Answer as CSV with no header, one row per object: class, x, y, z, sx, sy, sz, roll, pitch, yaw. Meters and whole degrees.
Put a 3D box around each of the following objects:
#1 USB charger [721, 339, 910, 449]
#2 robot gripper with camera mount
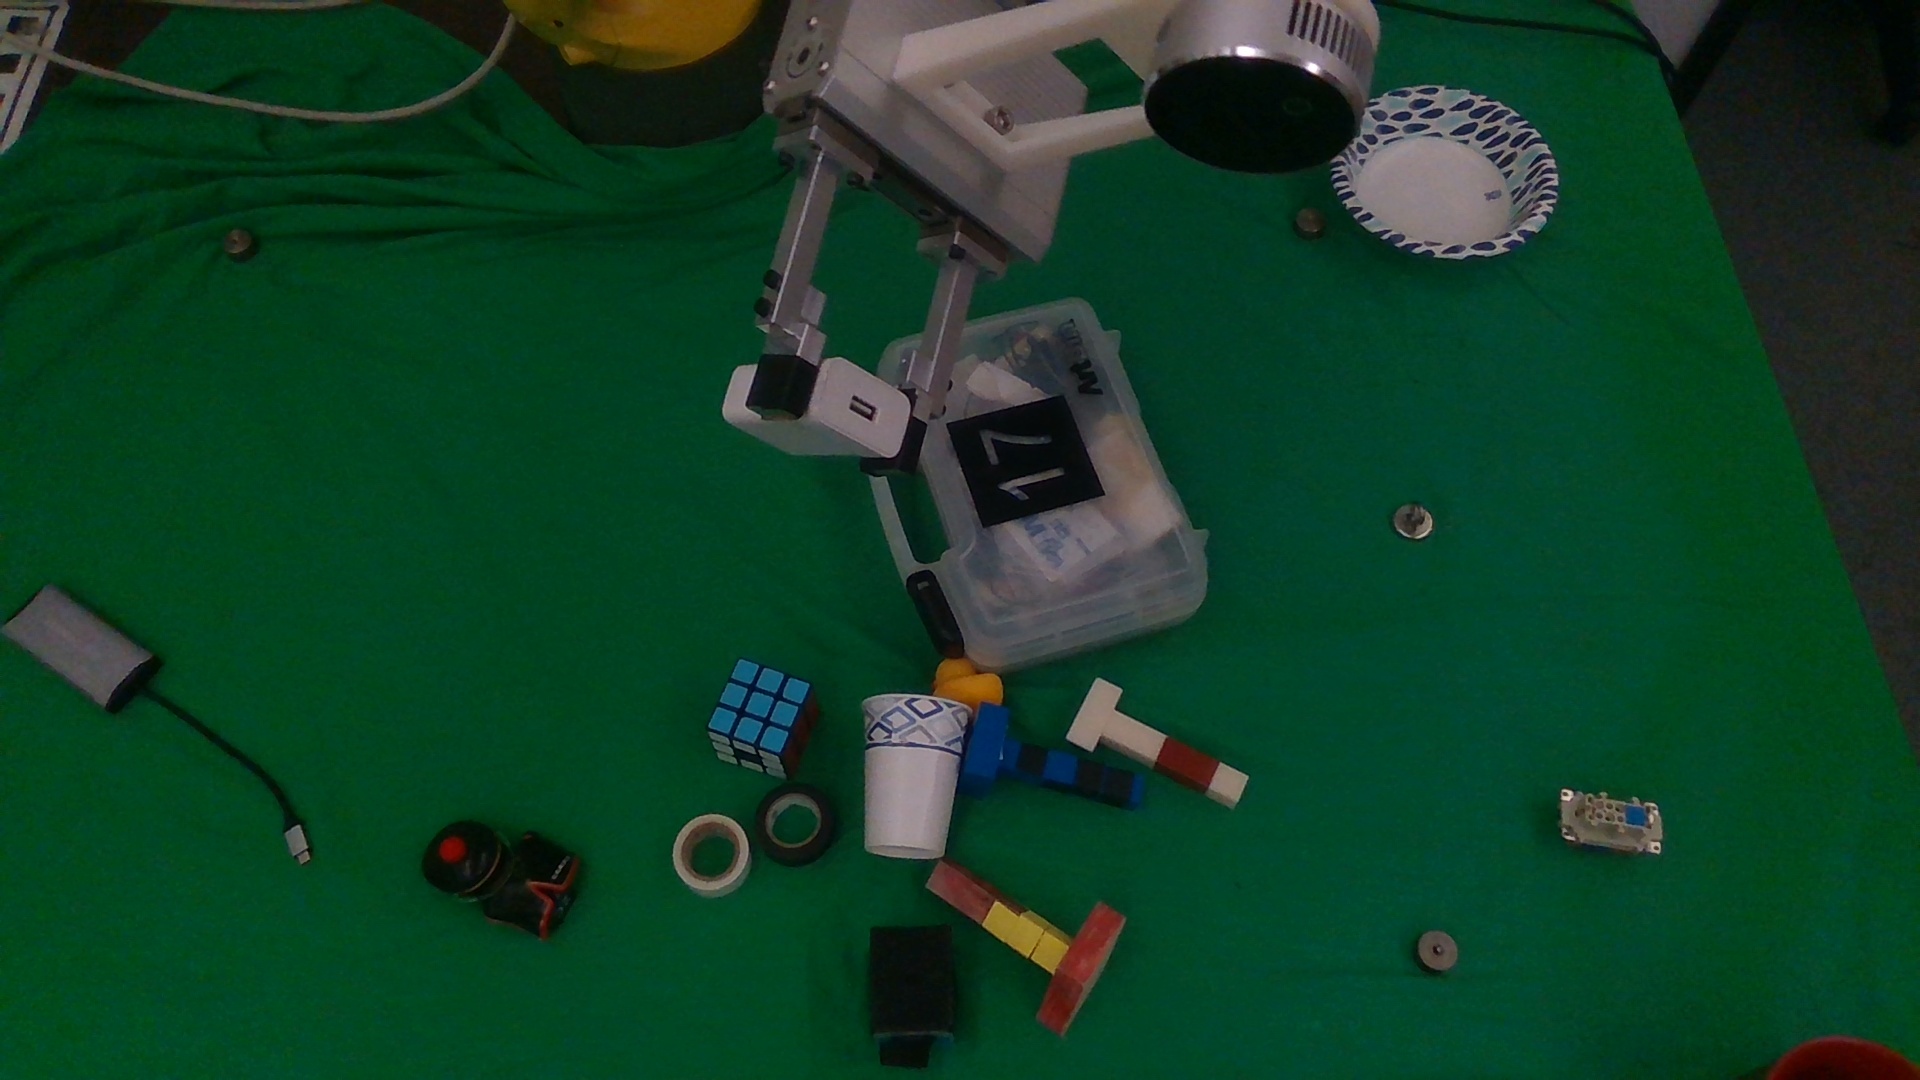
USB charger,-0.057,-0.051,0.504,0.076,0.044,0.029,1,72,42
robot gripper with camera mount,0.042,-0.113,0.461,0.194,0.118,0.158,-1,70,42
